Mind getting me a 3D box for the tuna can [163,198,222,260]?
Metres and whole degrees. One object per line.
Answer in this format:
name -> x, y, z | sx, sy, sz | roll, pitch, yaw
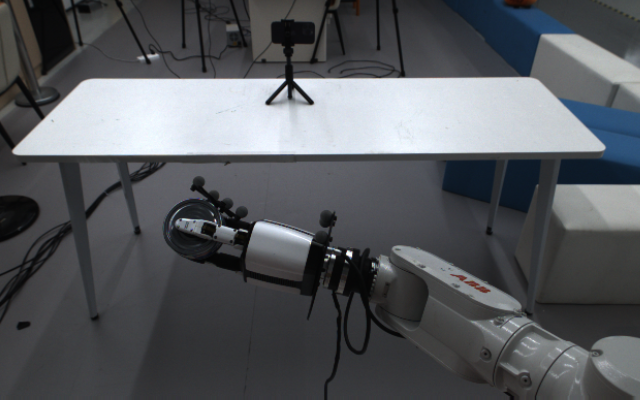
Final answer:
tuna can -> -0.178, 0.042, 0.694 | 0.085, 0.034, 0.085 | 0, 74, -1
